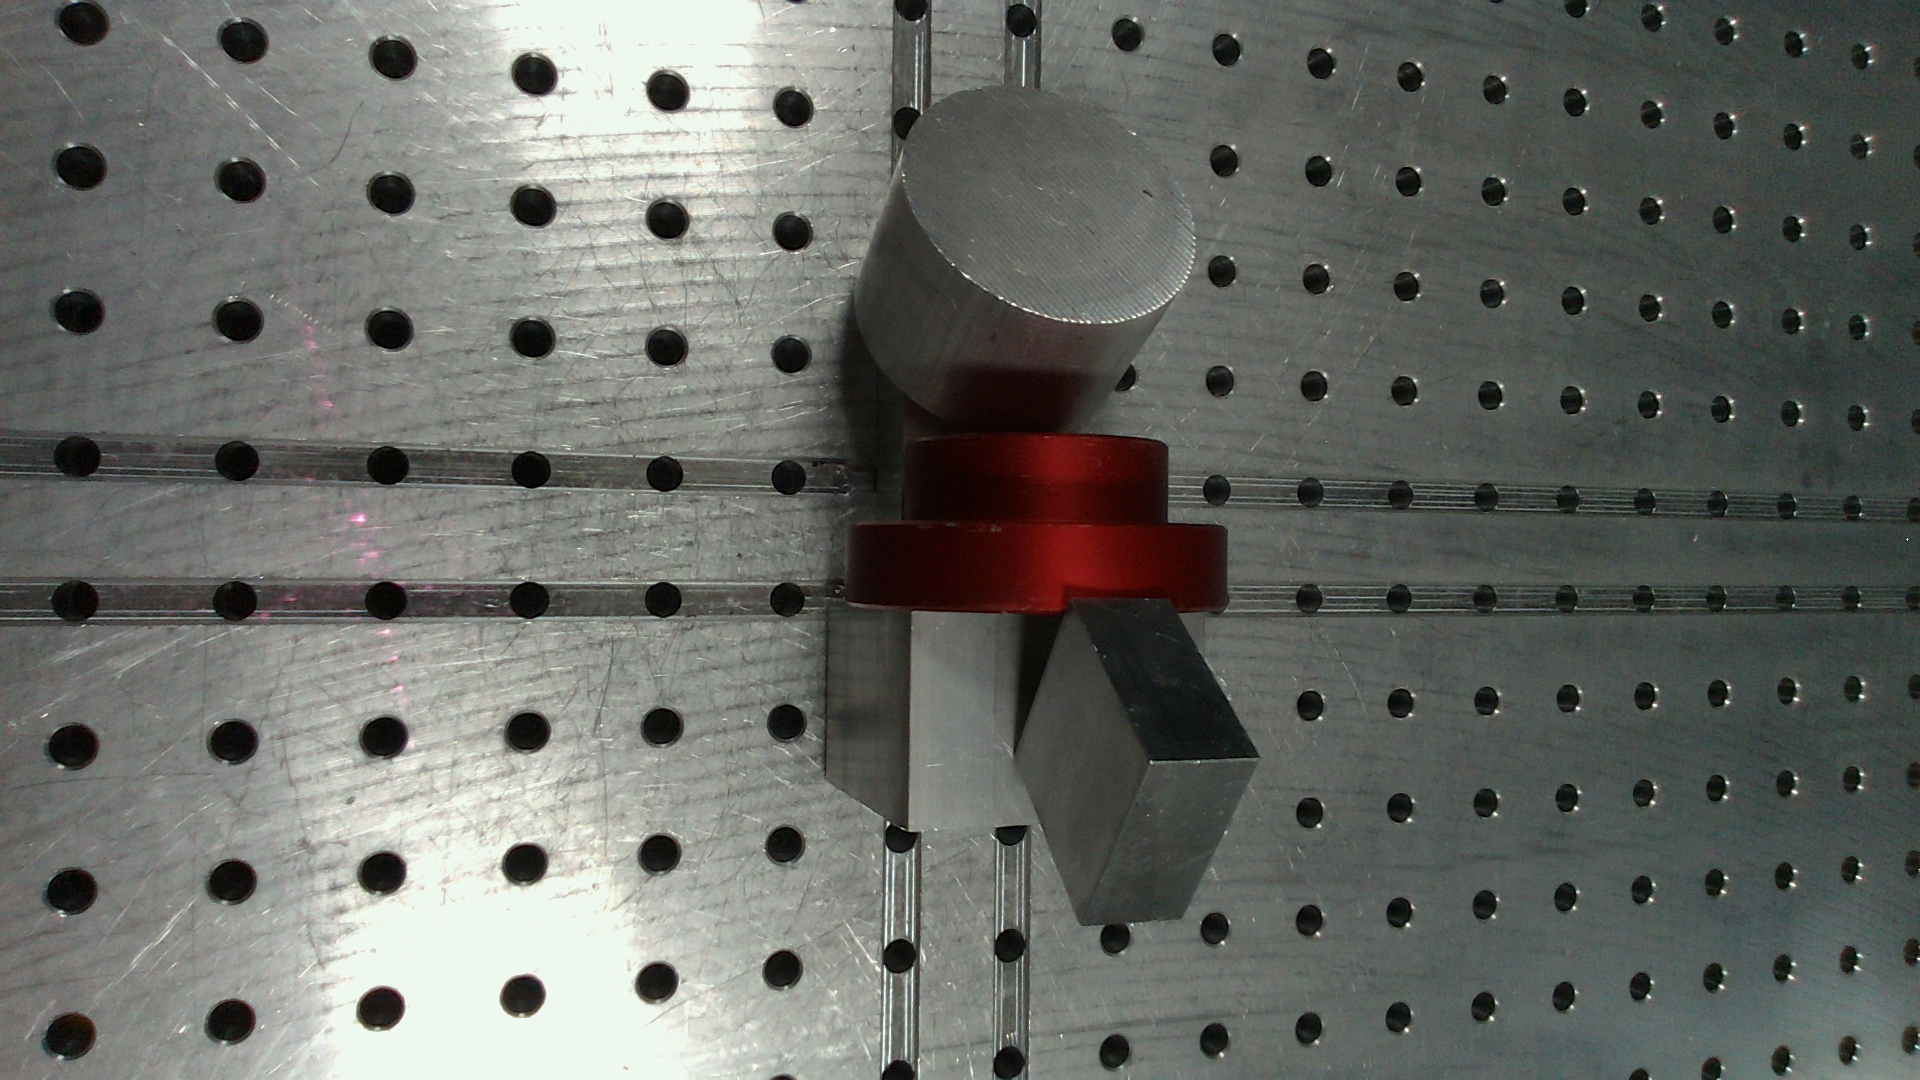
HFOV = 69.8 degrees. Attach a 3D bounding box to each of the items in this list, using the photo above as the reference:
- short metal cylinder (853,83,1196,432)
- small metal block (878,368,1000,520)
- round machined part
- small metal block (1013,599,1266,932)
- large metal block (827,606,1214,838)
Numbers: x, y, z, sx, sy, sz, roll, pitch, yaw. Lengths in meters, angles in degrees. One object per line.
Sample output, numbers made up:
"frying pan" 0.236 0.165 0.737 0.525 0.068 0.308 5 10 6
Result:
"short metal cylinder" 0.016 -0.075 0.371 0.080 0.050 0.080 10 57 -15
"small metal block" 0.004 -0.029 0.397 0.050 0.025 0.050 1 90 -20
"round machined part" 0.020 -0.004 0.353 0.098 0.098 0.042 1 90 -20
"small metal block" 0.037 0.048 0.300 0.025 0.050 0.050 1 128 -20
"large metal block" 0.013 0.045 0.370 0.080 0.080 0.050 1 90 -20
